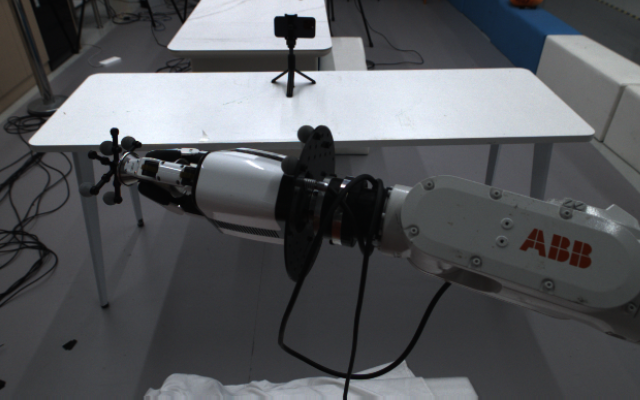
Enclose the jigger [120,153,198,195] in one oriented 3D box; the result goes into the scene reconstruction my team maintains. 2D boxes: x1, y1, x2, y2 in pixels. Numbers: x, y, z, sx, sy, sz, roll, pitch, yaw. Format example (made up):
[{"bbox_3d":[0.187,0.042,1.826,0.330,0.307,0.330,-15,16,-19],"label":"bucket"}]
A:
[{"bbox_3d":[-0.178,-0.032,0.538,0.071,0.043,0.043,10,35,16],"label":"jigger"}]
